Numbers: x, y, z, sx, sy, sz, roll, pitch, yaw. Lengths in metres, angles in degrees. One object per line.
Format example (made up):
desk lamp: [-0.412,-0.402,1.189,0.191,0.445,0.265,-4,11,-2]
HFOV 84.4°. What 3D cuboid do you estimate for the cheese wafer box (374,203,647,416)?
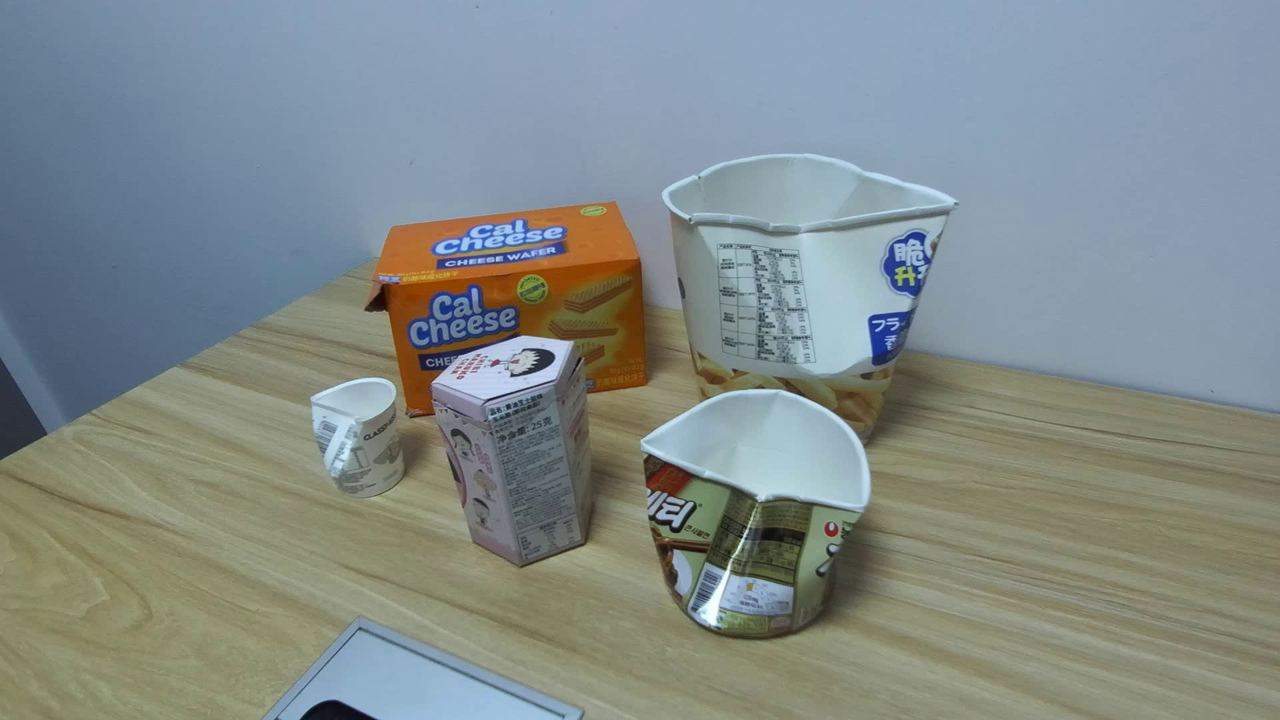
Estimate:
cheese wafer box: [-0.115,-0.055,0.657,0.227,0.137,0.149,-8,33,-7]

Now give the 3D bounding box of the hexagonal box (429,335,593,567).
hexagonal box: [-0.078,0.059,0.472,0.085,0.135,0.092,1,32,8]

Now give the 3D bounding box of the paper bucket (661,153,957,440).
paper bucket: [0.111,-0.035,0.545,0.163,0.202,0.168,-21,33,-24]

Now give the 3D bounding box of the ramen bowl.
ramen bowl: [0.075,0.092,0.437,0.137,0.098,0.137,-1,34,1]

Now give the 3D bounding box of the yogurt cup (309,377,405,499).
yogurt cup: [-0.213,0.060,0.544,0.067,0.070,0.067,-3,31,2]
